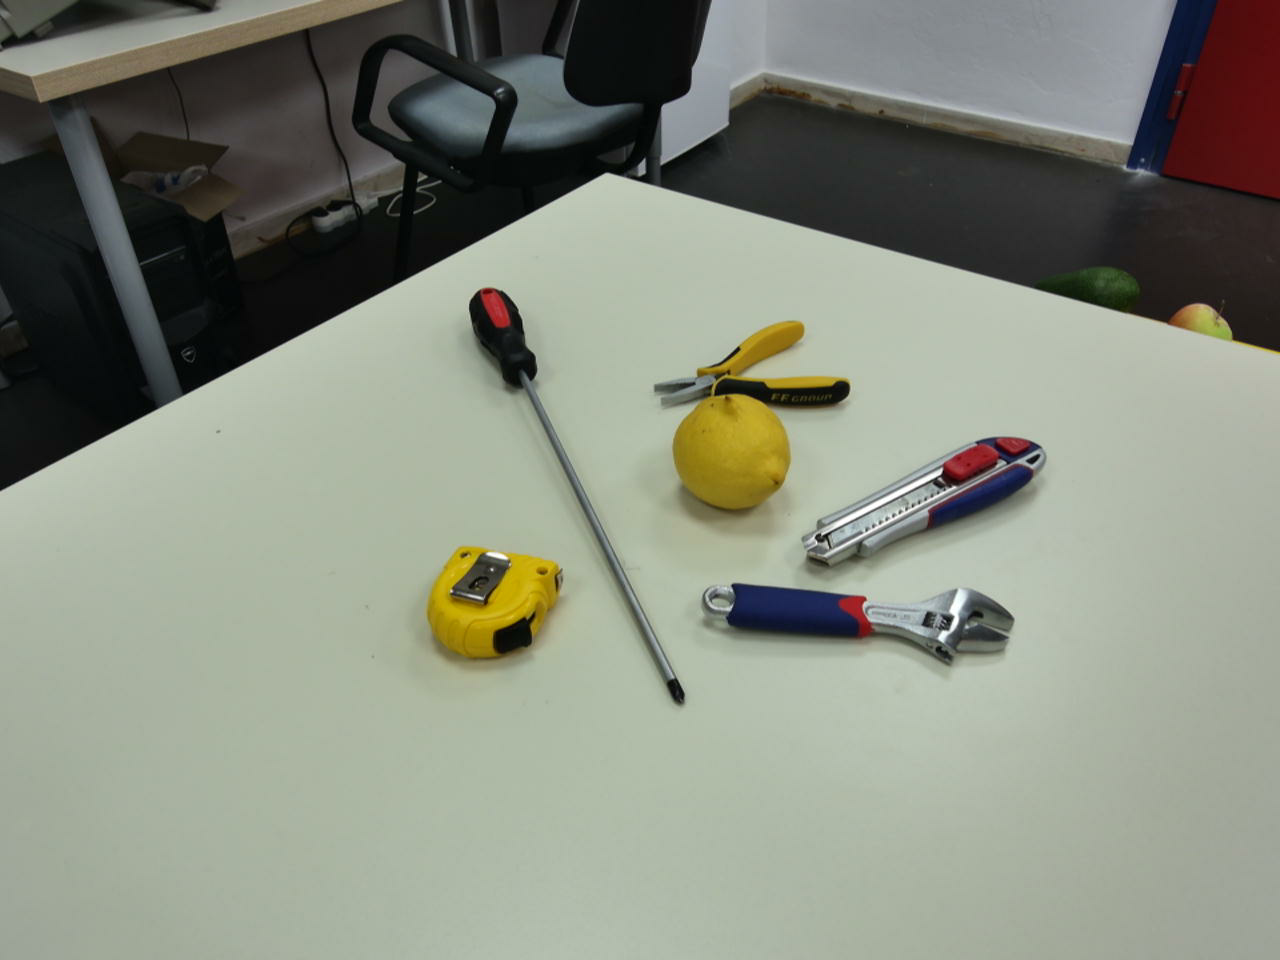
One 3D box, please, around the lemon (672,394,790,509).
[{"bbox_3d":[0.055,-0.020,0.598,0.070,0.071,0.071,2,38,3],"label":"lemon"}]
